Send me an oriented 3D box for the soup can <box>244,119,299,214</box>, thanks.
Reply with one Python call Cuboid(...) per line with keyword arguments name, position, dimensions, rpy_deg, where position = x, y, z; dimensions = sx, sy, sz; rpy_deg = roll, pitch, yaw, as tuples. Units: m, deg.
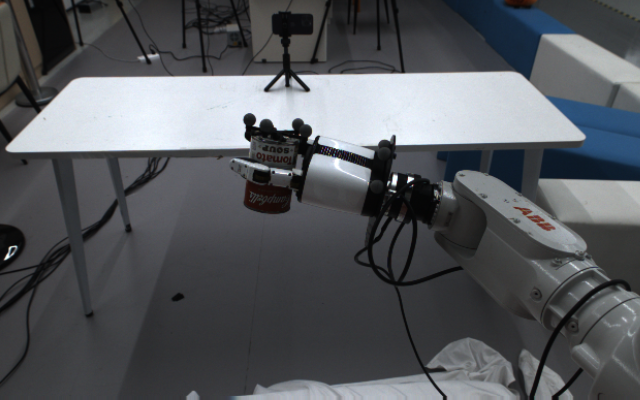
Cuboid(name="soup can", position=(-0.068, -0.039, 0.673), dimensions=(0.067, 0.101, 0.067), rpy_deg=(9, 19, -3))
